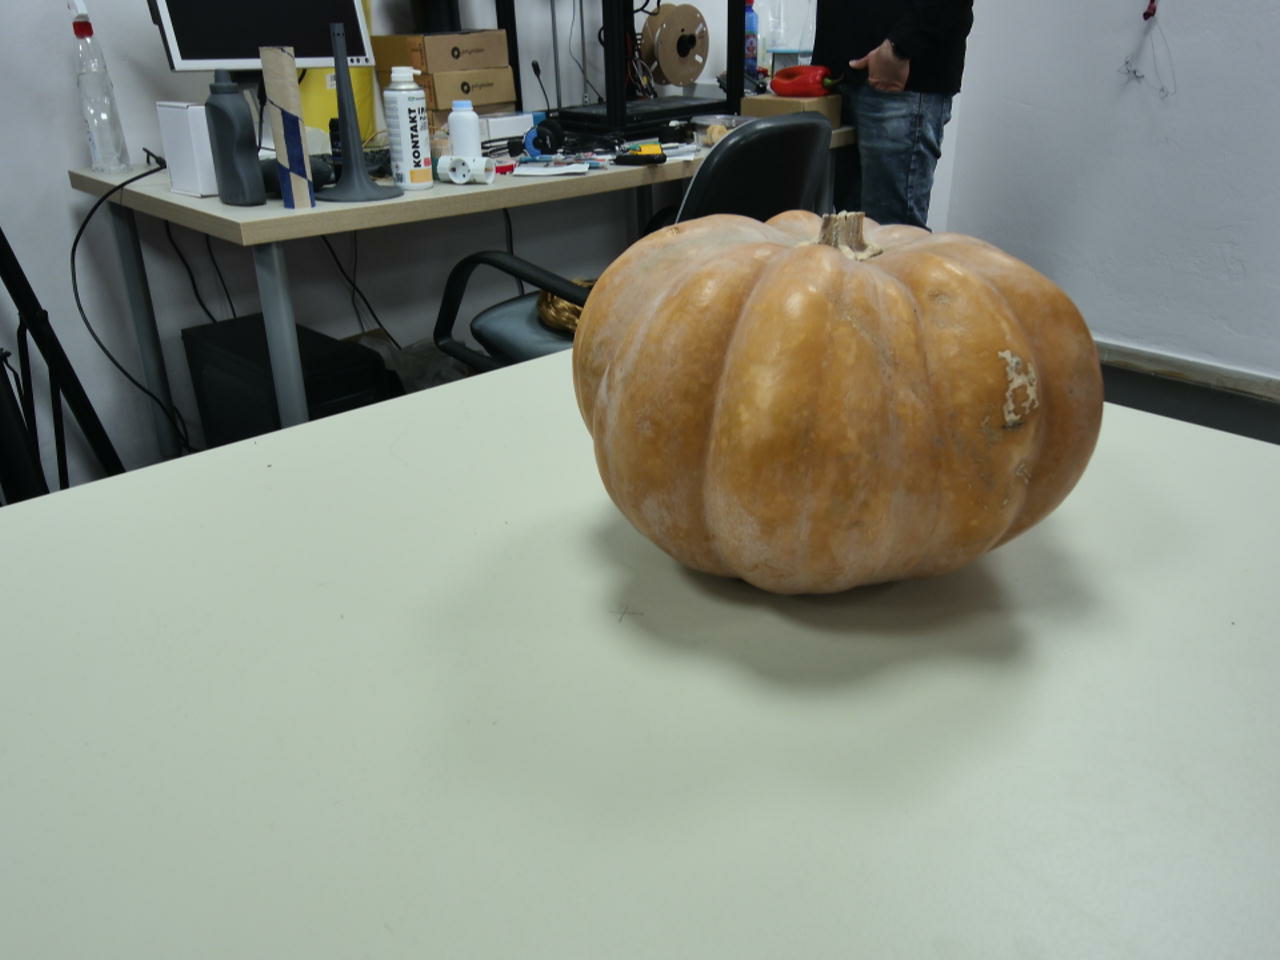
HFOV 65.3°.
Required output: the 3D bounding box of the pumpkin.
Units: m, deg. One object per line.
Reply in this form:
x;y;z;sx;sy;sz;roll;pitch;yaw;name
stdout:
0.095;-0.050;0.532;0.277;0.181;0.277;0;24;0;pumpkin
